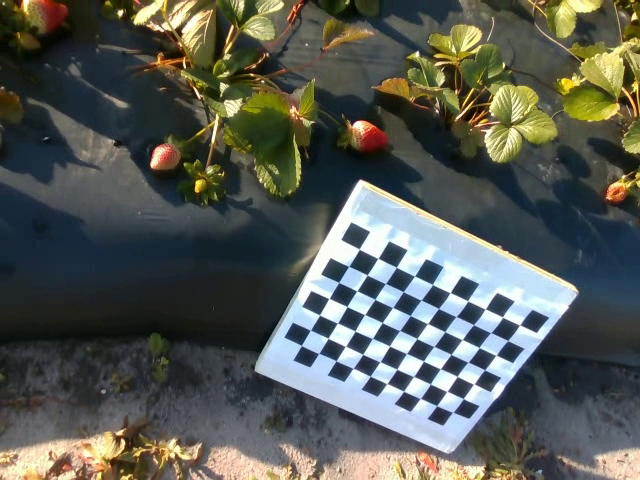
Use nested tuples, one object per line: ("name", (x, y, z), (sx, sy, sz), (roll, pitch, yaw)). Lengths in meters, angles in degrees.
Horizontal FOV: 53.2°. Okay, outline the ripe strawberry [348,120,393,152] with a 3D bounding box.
("ripe strawberry", (0.064, -0.132, 0.807), (0.063, 0.045, 0.044), (8, 23, -7))
